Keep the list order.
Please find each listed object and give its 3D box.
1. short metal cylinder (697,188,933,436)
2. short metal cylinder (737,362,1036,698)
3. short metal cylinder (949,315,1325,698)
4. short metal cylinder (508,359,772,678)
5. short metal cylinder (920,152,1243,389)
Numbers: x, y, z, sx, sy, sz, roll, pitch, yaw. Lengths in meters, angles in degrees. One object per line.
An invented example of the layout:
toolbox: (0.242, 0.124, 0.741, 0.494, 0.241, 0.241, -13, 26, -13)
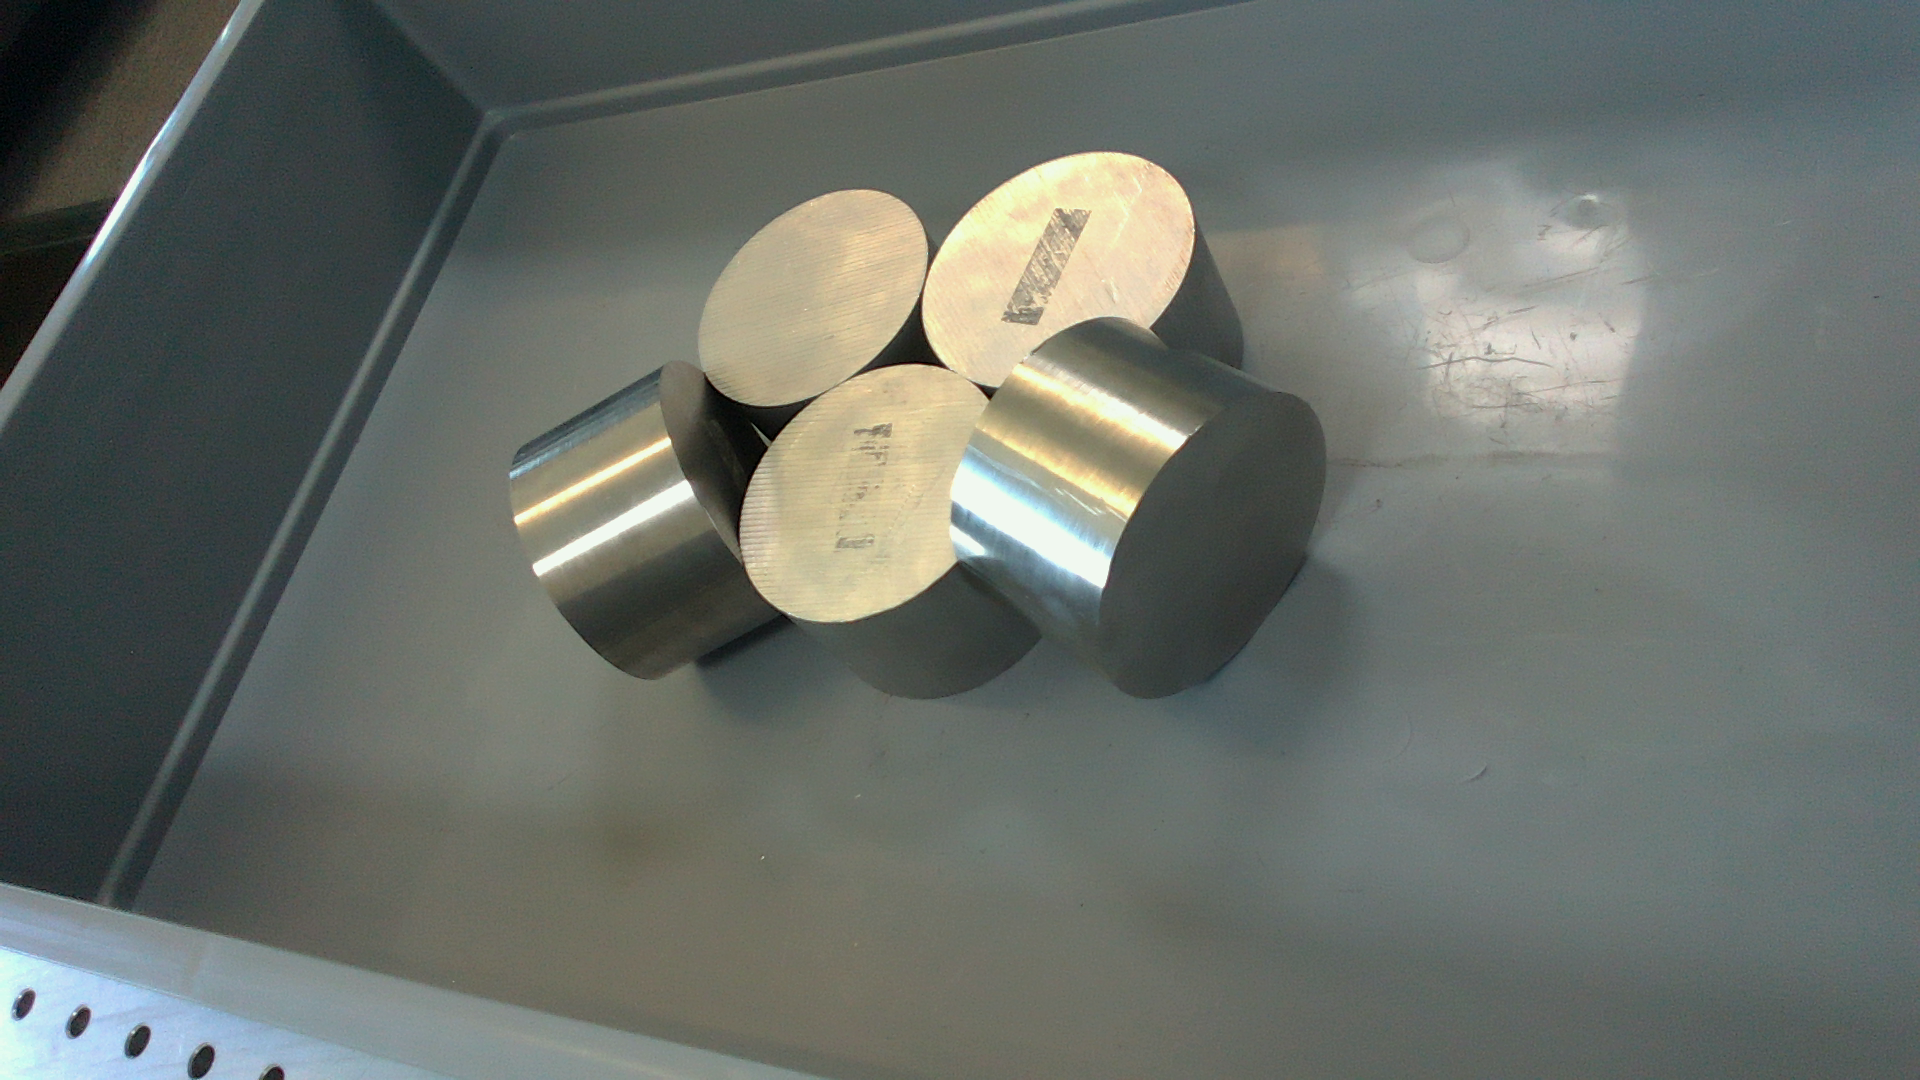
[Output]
short metal cylinder: (-0.035, -0.063, 0.434, 0.080, 0.050, 0.080, -13, 56, 21)
short metal cylinder: (-0.015, -0.002, 0.386, 0.080, 0.050, 0.080, -13, 56, 21)
short metal cylinder: (0.044, -0.009, 0.338, 0.050, 0.080, 0.080, 33, 80, 39)
short metal cylinder: (-0.087, -0.006, 0.407, 0.050, 0.080, 0.080, -27, 52, 12)
short metal cylinder: (0.036, -0.064, 0.396, 0.080, 0.050, 0.080, -13, 56, 21)
